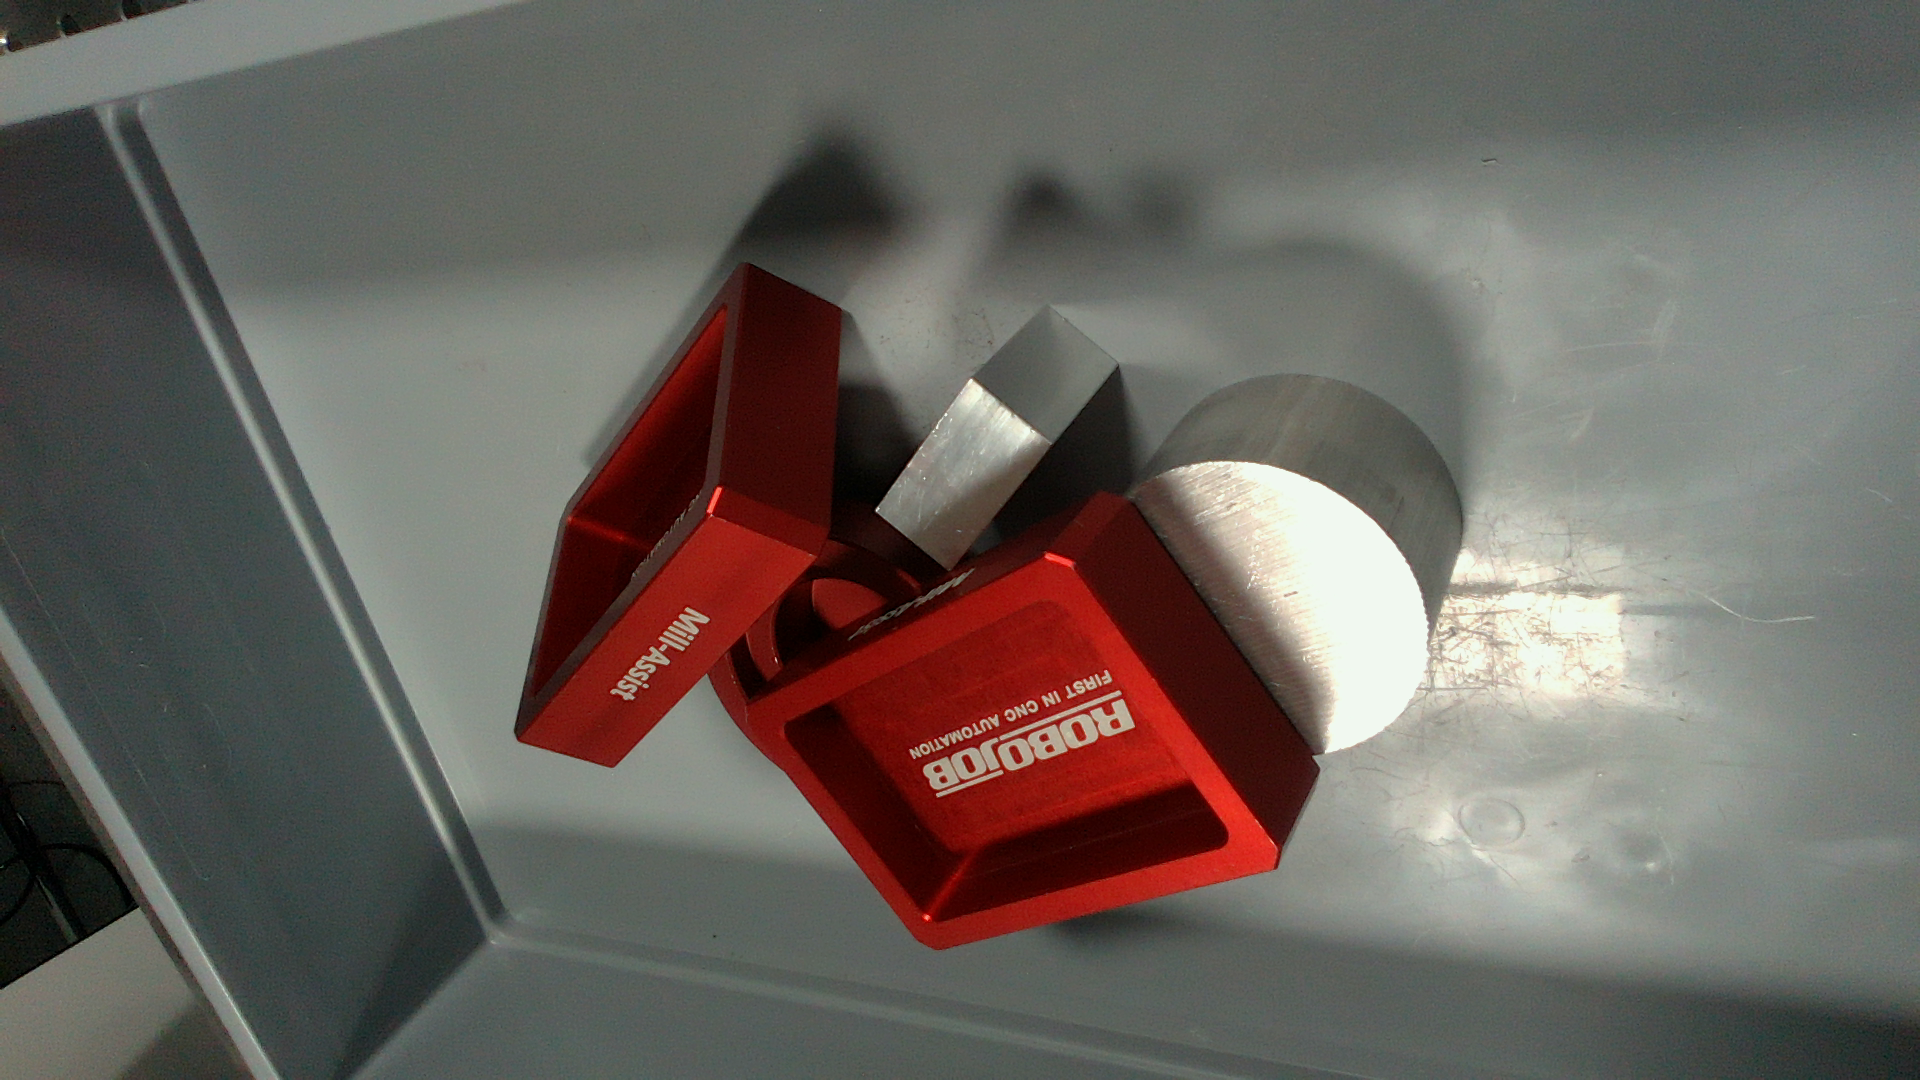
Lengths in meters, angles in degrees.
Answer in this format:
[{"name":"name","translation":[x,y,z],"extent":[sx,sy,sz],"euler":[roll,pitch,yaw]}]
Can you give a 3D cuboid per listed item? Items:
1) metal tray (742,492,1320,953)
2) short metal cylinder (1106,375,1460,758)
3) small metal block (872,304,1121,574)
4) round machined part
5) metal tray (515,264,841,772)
[{"name":"metal tray","translation":[0.013,0.053,0.352],"extent":[0.129,0.030,0.090],"euler":[-29,102,42]},{"name":"short metal cylinder","translation":[0.077,0.006,0.337],"extent":[0.080,0.050,0.080],"euler":[13,124,21]},{"name":"small metal block","translation":[0.010,-0.026,0.353],"extent":[0.025,0.050,0.050],"euler":[40,128,1]},{"name":"round machined part","translation":[-0.027,0.030,0.415],"extent":[0.098,0.042,0.098],"euler":[13,124,21]},{"name":"metal tray","translation":[-0.081,-0.003,0.388],"extent":[0.030,0.090,0.130],"euler":[23,135,-27]}]
